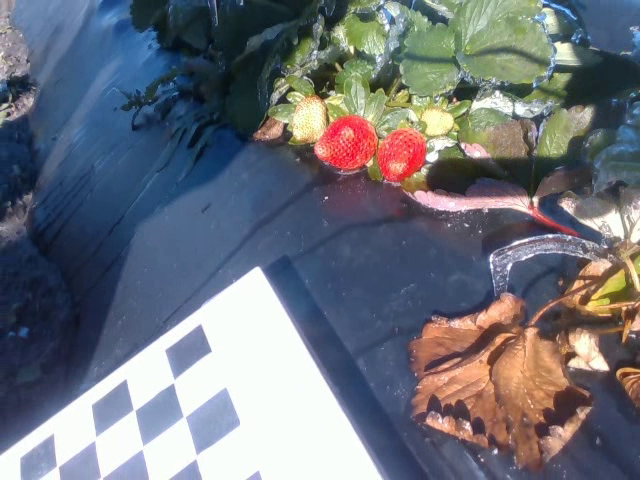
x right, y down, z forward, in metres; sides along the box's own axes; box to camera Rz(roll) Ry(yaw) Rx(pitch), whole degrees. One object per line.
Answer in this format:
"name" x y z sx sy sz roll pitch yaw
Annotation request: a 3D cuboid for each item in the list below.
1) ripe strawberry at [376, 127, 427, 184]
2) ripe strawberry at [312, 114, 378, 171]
"ripe strawberry" 0.052 -0.053 0.374 0.036 0.041 0.030 -18 -50 20
"ripe strawberry" 0.013 -0.059 0.380 0.036 0.040 0.052 4 18 35
